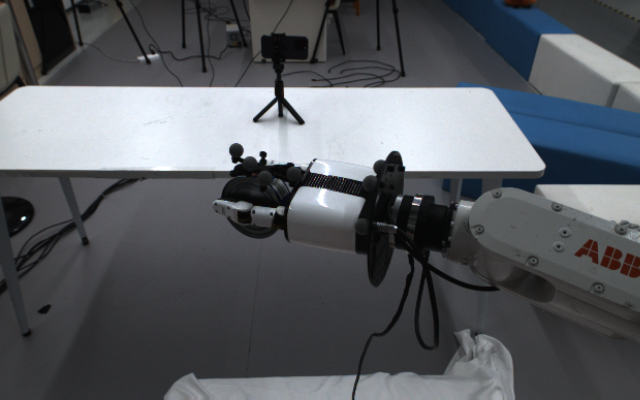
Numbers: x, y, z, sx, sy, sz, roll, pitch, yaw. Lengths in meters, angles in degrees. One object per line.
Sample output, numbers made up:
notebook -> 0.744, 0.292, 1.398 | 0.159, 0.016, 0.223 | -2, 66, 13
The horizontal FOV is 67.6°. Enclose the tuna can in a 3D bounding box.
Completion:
tuna can -> -0.077, 0.002, 0.608 | 0.085, 0.085, 0.034 | 16, 29, 19
